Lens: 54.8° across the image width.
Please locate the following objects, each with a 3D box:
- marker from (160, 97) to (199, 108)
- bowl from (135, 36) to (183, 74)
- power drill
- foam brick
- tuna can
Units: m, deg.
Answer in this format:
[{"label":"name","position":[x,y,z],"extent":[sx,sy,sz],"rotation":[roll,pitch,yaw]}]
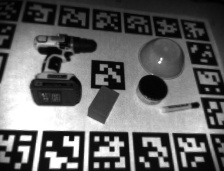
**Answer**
[{"label":"marker","position":[0.200,0.048,0.629],"extent":[0.122,0.019,0.019],"rotation":[-6,64,-15]},{"label":"bowl","position":[0.161,-0.115,0.704],"extent":[0.162,0.055,0.161],"rotation":[4,54,-5]},{"label":"power drill","position":[-0.142,-0.065,0.607],"extent":[0.186,0.057,0.186],"rotation":[4,58,-13]},{"label":"foam brick","position":[-0.026,0.041,0.578],"extent":[0.051,0.053,0.078],"rotation":[24,61,2]},{"label":"tuna can","position":[0.115,-0.005,0.634],"extent":[0.086,0.034,0.085],"rotation":[6,60,-10]}]
